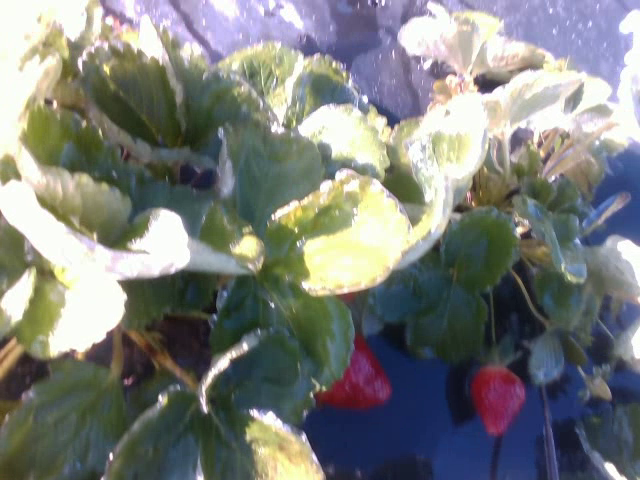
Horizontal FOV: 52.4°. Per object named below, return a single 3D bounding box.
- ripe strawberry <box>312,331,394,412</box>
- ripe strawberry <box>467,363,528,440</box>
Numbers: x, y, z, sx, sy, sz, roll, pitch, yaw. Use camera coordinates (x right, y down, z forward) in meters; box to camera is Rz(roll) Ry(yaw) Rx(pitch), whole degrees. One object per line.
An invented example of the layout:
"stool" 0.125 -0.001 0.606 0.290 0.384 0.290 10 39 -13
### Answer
"ripe strawberry" 0.021 0.076 0.343 0.056 0.044 0.040 40 -14 -29
"ripe strawberry" 0.105 0.096 0.381 0.039 0.047 0.040 27 -18 -31
